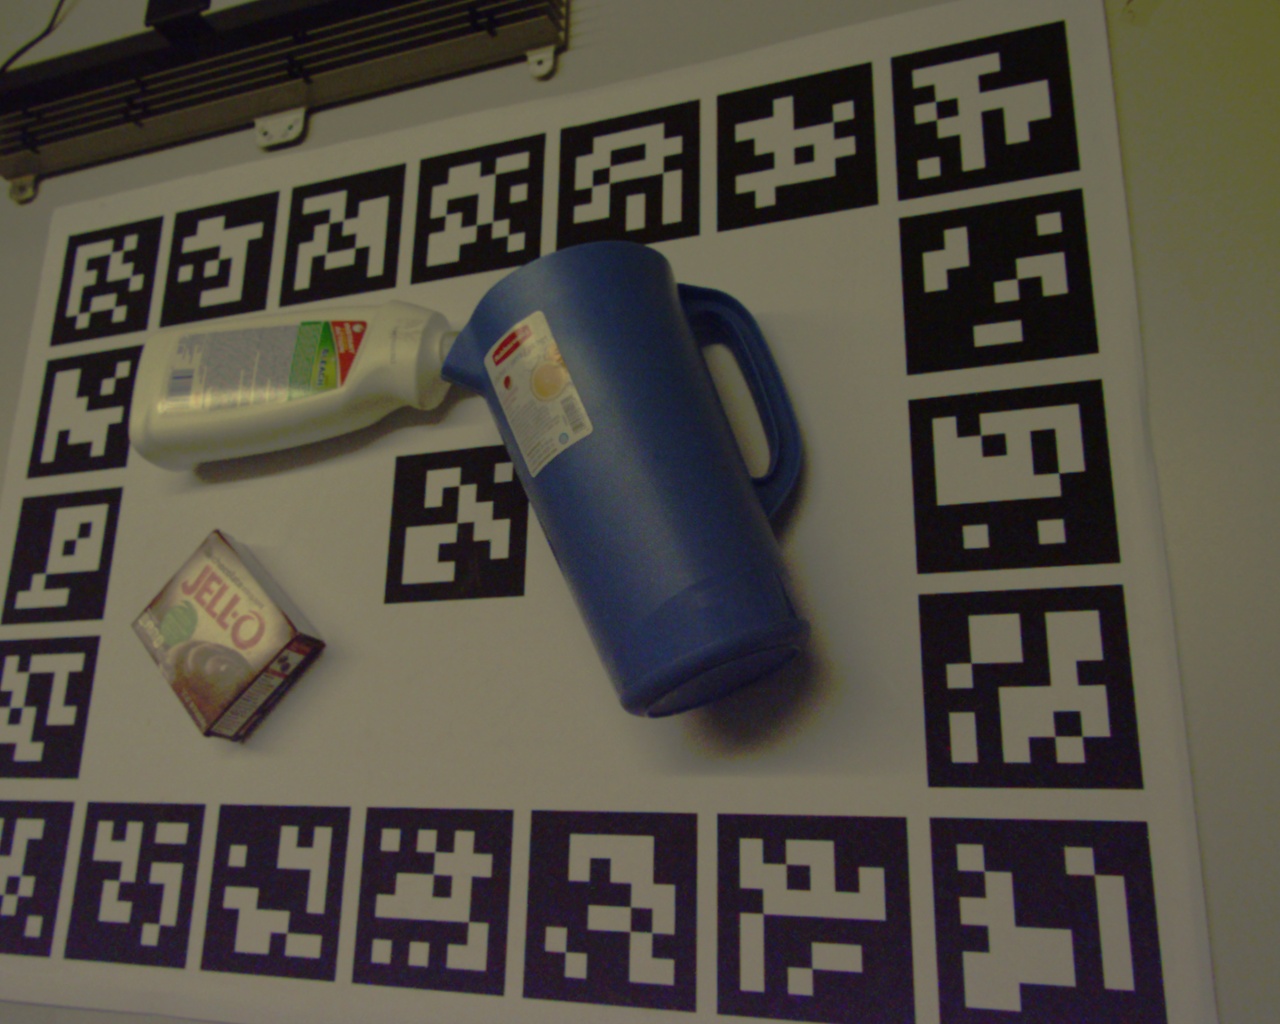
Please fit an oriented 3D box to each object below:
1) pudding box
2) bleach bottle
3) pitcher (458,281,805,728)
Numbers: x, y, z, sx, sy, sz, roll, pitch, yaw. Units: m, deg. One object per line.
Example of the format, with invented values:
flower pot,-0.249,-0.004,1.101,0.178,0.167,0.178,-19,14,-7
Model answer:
pudding box,-0.286,0.089,0.791,0.090,0.038,0.115,-45,66,-1
bleach bottle,-0.230,-0.086,0.809,0.253,0.067,0.103,-7,77,18
pitcher,0.009,-0.006,0.674,0.187,0.133,0.244,-18,71,-20
